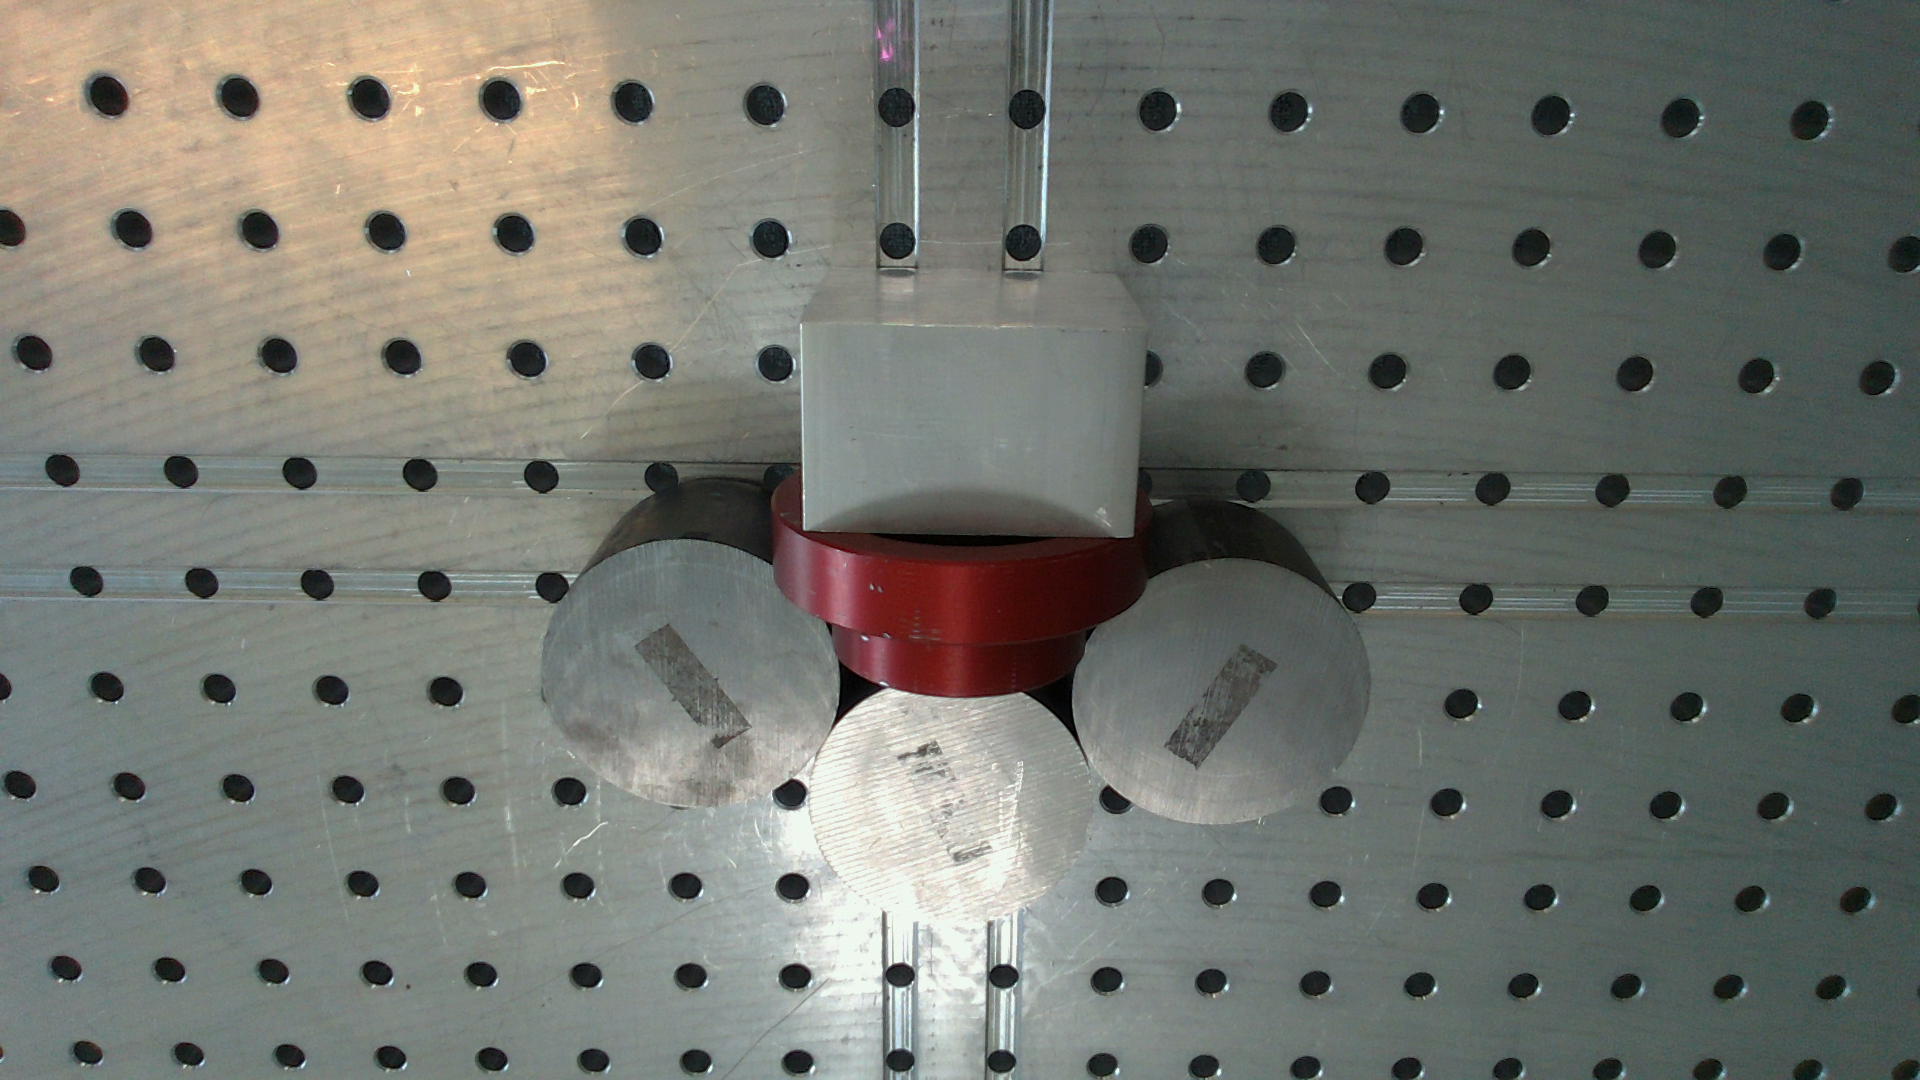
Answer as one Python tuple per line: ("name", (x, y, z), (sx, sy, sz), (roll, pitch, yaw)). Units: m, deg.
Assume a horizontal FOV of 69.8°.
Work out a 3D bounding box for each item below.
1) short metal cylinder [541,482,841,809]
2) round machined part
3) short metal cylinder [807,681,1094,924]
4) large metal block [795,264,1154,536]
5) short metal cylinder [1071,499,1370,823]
("short metal cylinder", (-0.072, 0.029, 0.394), (0.080, 0.050, 0.080), (0, 110, 0))
("round machined part", (0.000, 0.009, 0.359), (0.098, 0.098, 0.042), (2, 110, -1))
("short metal cylinder", (-0.002, 0.065, 0.407), (0.080, 0.050, 0.080), (0, 110, 0))
("large metal block", (0.003, -0.039, 0.352), (0.080, 0.080, 0.050), (1, 110, 0))
("short metal cylinder", (0.071, 0.033, 0.396), (0.080, 0.050, 0.080), (0, 110, 0))
